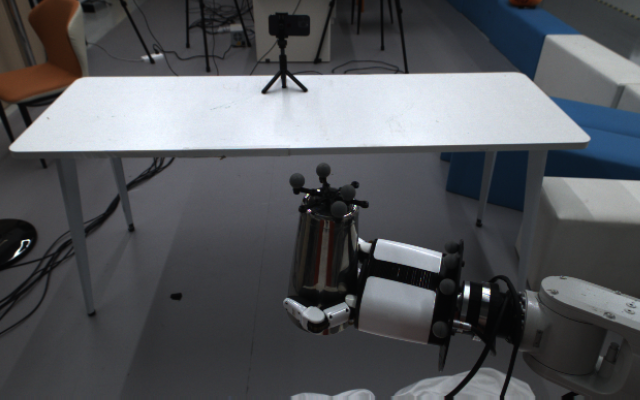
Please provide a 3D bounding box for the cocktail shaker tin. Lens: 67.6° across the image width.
[{"bbox_3d":[0.008,0.073,0.595,0.093,0.170,0.093,3,35,-2],"label":"cocktail shaker tin"}]
